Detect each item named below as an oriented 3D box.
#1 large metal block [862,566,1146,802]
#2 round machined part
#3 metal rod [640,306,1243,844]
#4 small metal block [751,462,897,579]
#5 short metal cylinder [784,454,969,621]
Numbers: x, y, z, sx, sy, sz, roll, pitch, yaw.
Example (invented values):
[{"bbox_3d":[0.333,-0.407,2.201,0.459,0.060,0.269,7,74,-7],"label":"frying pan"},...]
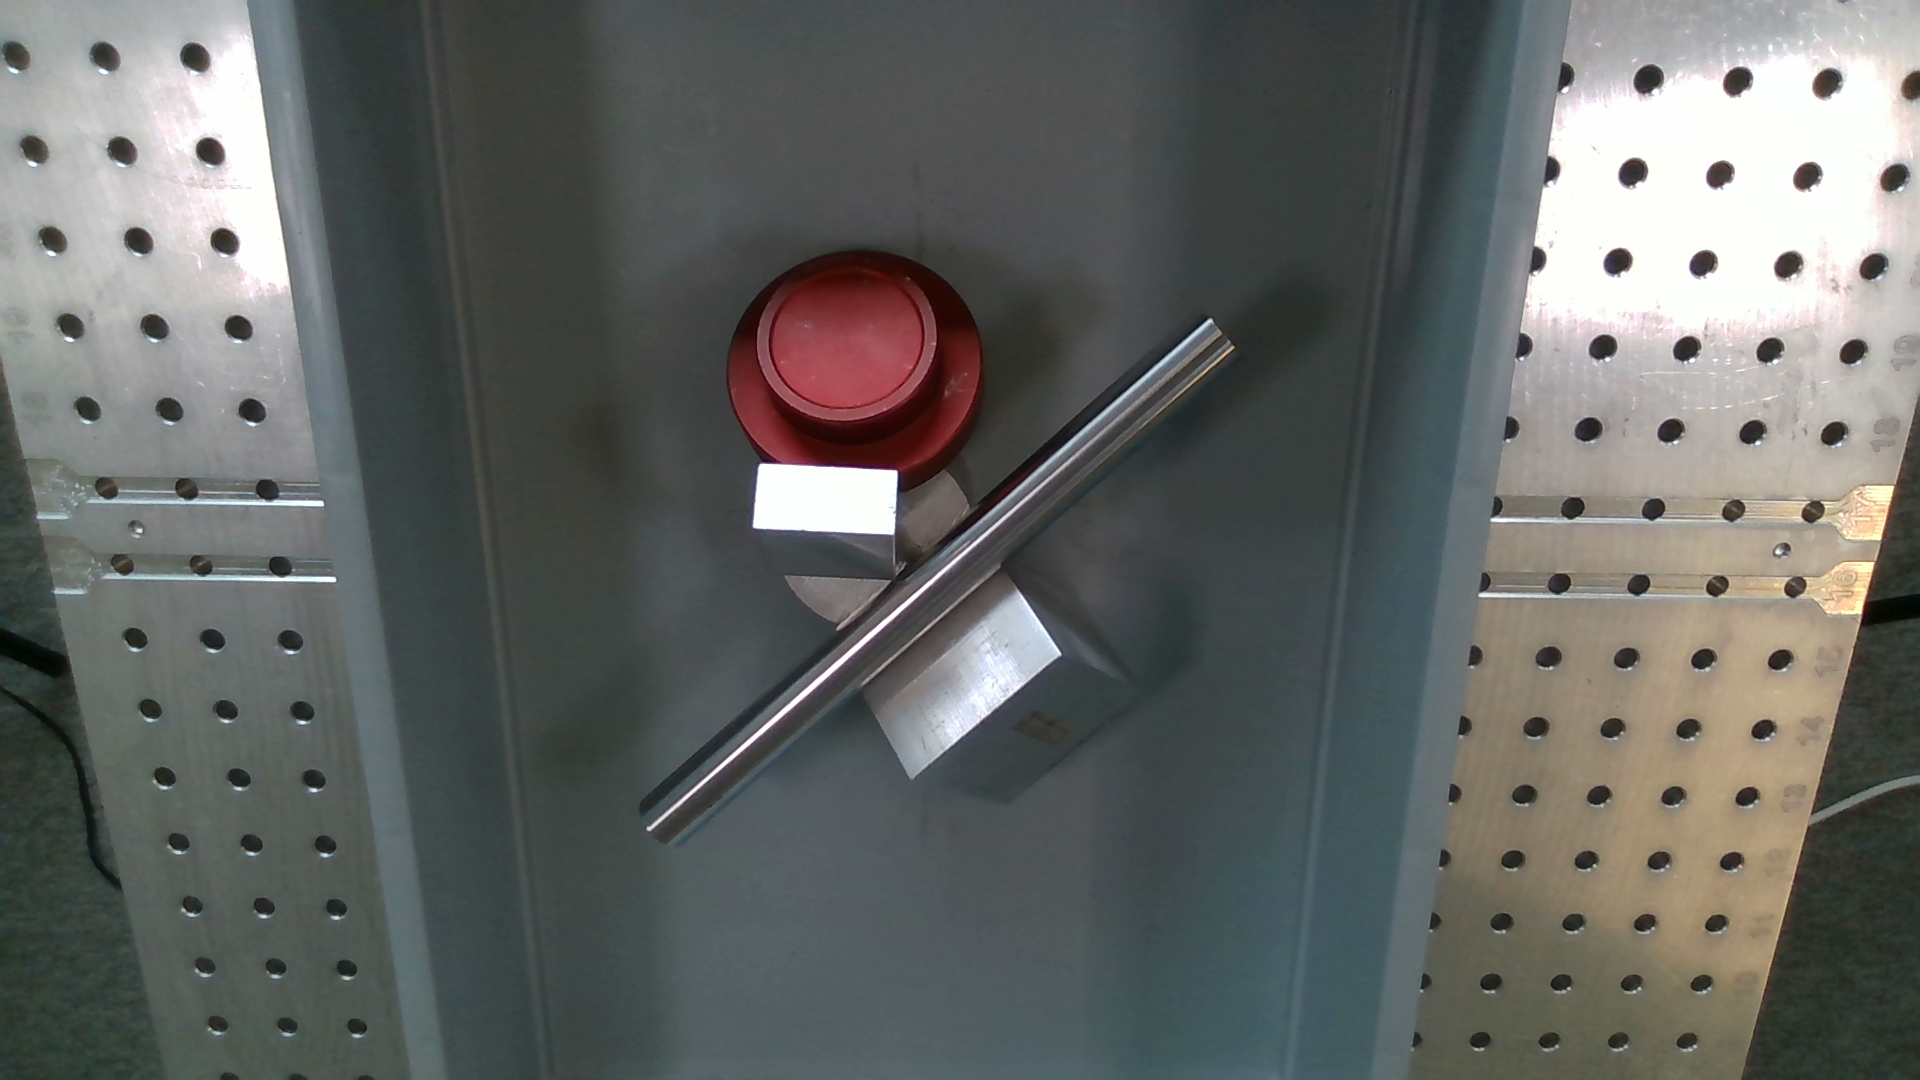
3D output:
[{"bbox_3d":[0.017,0.060,0.570,0.080,0.050,0.080,-42,148,14],"label":"large metal block"},{"bbox_3d":[-0.041,-0.068,0.522,0.098,0.042,0.098,-1,72,3],"label":"round machined part"},{"bbox_3d":[-0.014,0.020,0.538,0.300,0.025,0.025,-41,105,14],"label":"metal rod"},{"bbox_3d":[-0.049,-0.006,0.513,0.050,0.050,0.025,3,70,-1],"label":"small metal block"},{"bbox_3d":[-0.034,-0.009,0.567,0.080,0.050,0.080,0,110,0],"label":"short metal cylinder"}]
